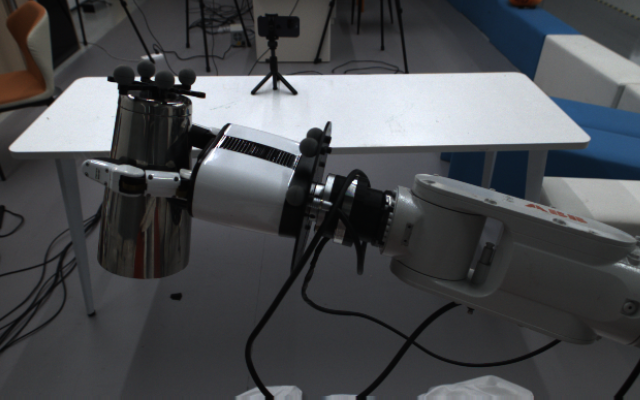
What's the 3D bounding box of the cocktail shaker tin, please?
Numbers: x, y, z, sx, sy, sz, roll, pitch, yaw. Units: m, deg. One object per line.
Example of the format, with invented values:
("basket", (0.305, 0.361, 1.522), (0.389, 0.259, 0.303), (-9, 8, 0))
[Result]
("cocktail shaker tin", (-0.166, -0.018, 0.483), (0.093, 0.170, 0.093), (10, 19, -4))
